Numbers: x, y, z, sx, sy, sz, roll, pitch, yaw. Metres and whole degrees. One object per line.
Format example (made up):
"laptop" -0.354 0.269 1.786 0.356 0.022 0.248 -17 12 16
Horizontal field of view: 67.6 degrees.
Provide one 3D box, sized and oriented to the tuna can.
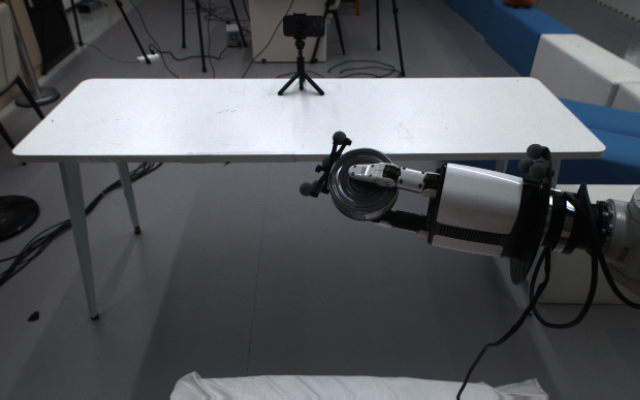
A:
"tuna can" 0.056 -0.021 0.593 0.085 0.034 0.085 -2 71 5
